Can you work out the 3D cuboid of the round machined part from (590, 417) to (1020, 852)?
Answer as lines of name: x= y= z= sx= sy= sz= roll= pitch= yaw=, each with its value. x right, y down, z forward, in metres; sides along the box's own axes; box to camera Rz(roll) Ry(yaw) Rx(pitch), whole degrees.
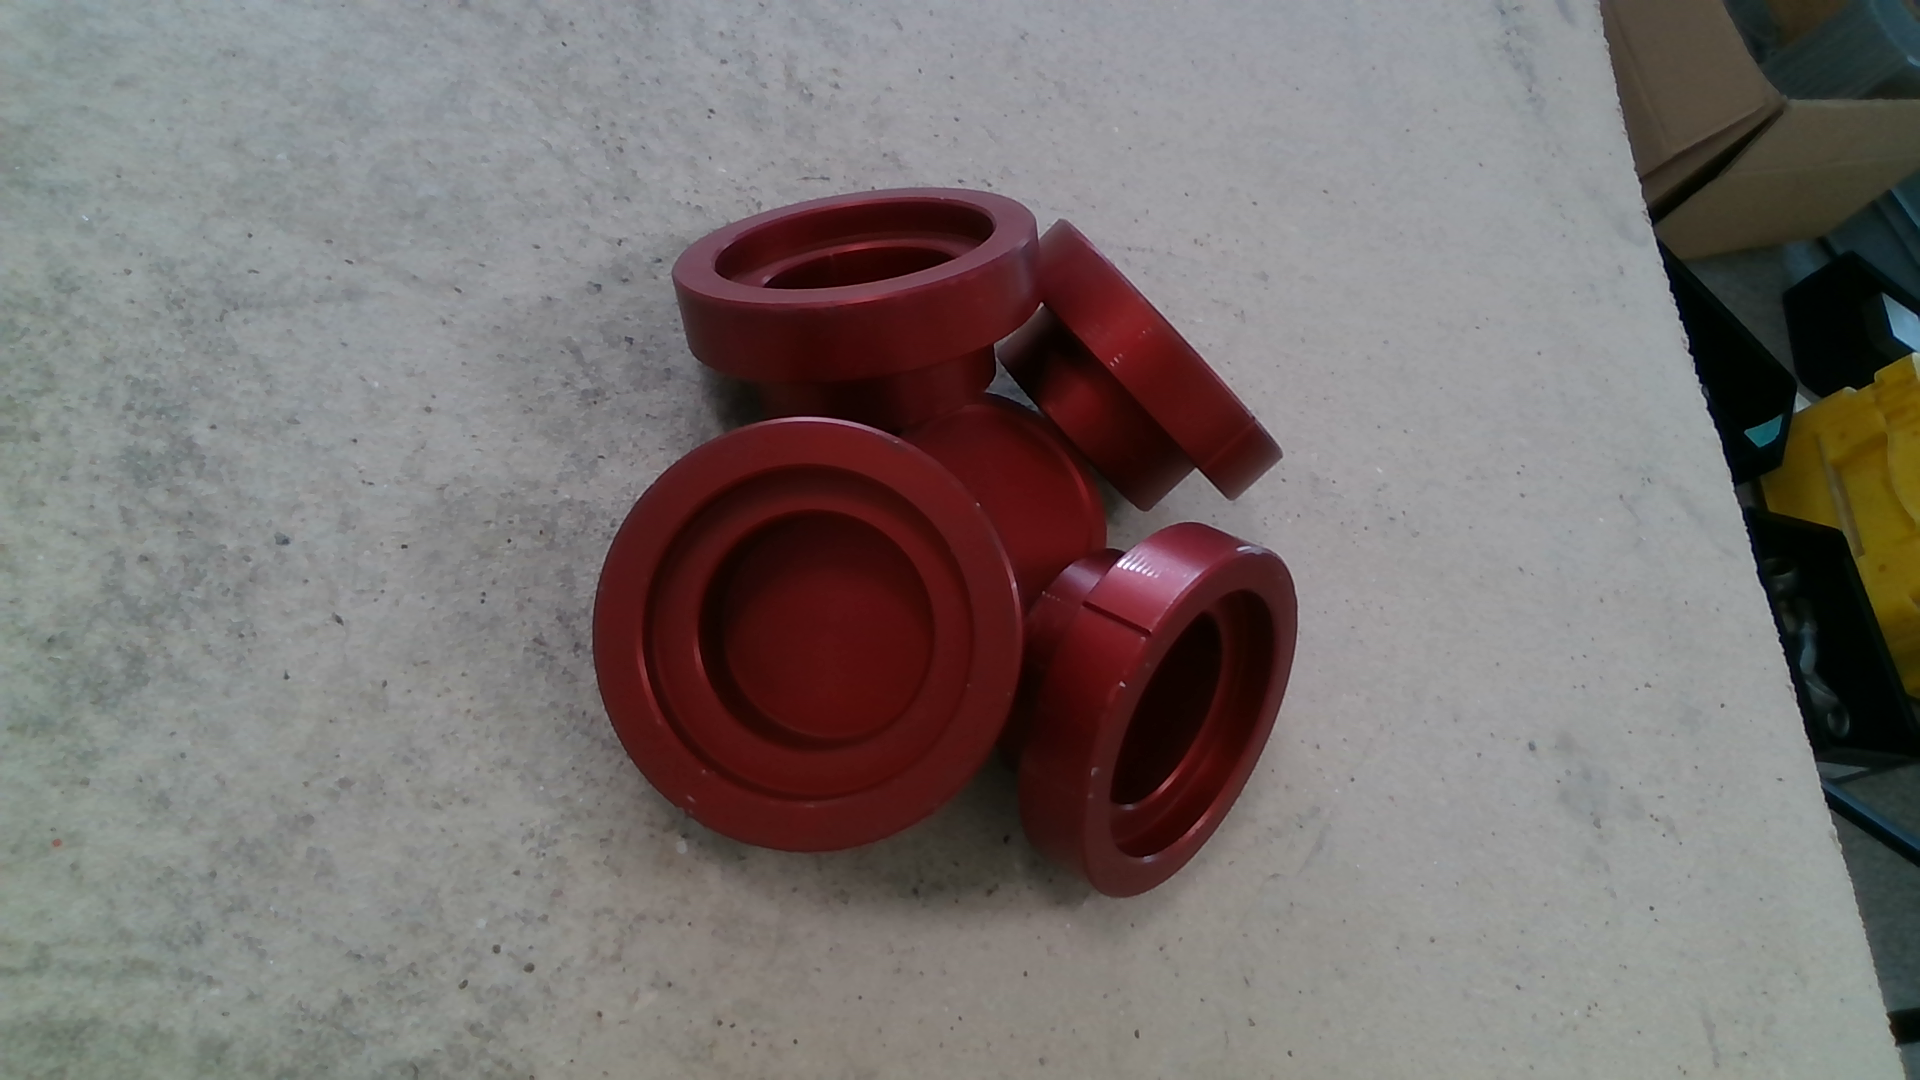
round machined part: x=-0.034 y=0.021 z=0.329 sx=0.098 sy=0.042 sz=0.098 roll=0 pitch=90 yaw=5

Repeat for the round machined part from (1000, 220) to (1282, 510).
round machined part: x=0.049 y=-0.047 z=0.417 sx=0.098 sy=0.042 sz=0.098 roll=45 pitch=10 yaw=-10

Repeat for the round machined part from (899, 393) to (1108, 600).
round machined part: x=0.002 y=-0.003 z=0.385 sx=0.098 sy=0.042 sz=0.098 roll=15 pitch=59 yaw=-27

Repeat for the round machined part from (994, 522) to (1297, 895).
round machined part: x=0.046 y=0.040 z=0.366 sx=0.042 sy=0.098 sz=0.098 roll=25 pitch=40 yaw=35

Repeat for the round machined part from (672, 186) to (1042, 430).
round machined part: x=-0.026 y=-0.063 z=0.377 sx=0.098 sy=0.098 sz=0.042 roll=-35 pitch=129 yaw=-39
